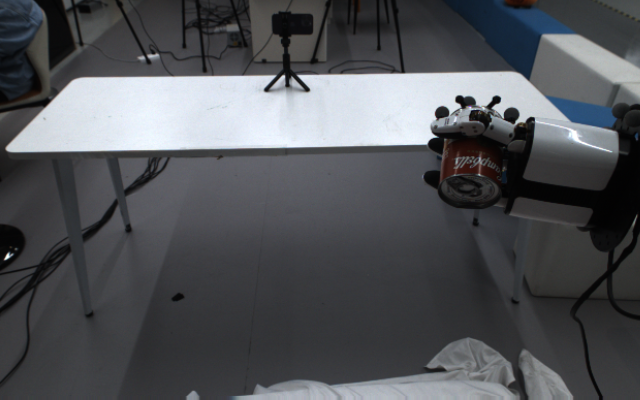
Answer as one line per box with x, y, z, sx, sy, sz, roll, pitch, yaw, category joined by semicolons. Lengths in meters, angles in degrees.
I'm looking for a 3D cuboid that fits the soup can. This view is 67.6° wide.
0.175;-0.050;0.551;0.067;0.067;0.101;9;58;10;soup can
